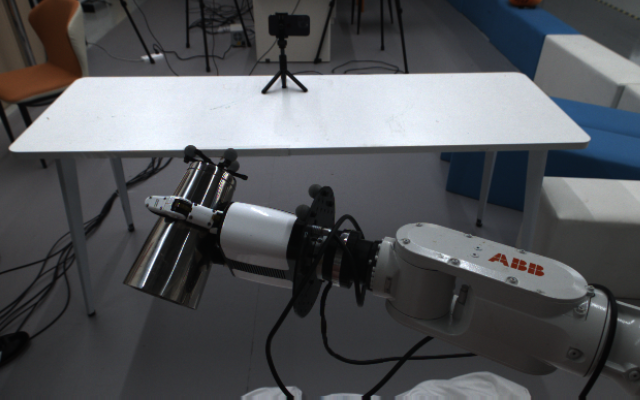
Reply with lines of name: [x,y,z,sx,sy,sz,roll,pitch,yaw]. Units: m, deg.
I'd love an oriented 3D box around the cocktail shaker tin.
cocktail shaker tin: [-0.166,0.042,0.606,0.093,0.093,0.170,13,70,15]
